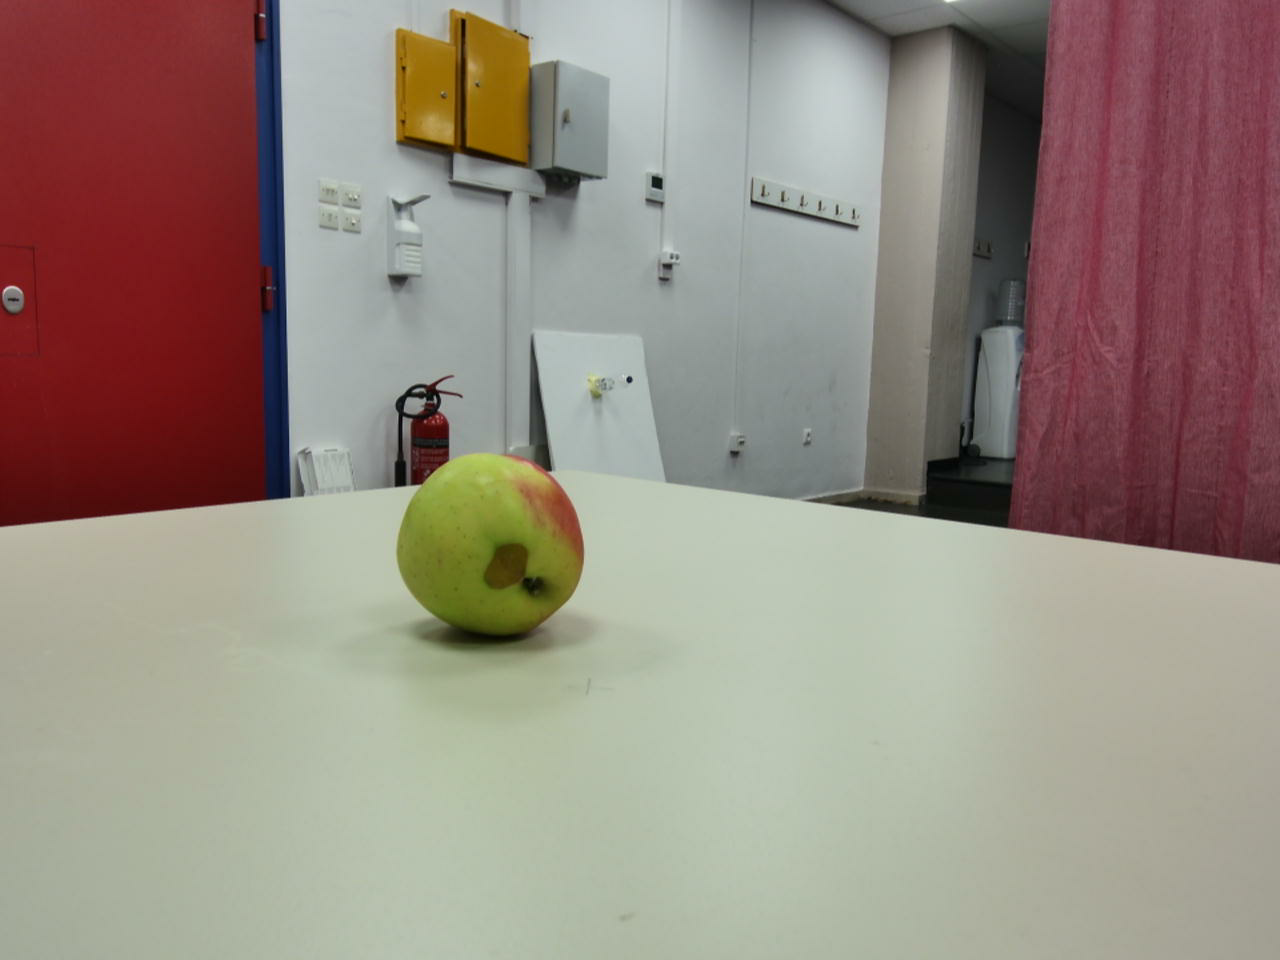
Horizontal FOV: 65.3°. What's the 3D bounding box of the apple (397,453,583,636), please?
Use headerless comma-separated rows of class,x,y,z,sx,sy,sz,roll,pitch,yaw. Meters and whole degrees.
apple,-0.061,0.026,0.419,0.075,0.074,0.075,2,5,20
